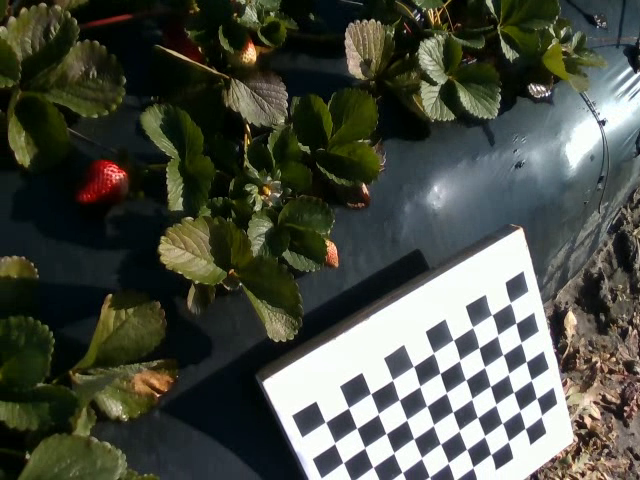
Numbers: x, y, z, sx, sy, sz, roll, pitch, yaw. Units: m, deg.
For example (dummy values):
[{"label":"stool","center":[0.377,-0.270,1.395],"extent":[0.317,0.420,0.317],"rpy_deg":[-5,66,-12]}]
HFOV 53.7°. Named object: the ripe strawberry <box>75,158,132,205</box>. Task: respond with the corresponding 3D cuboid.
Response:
[{"label":"ripe strawberry","center":[-0.173,-0.043,0.498],"extent":[0.044,0.042,0.056],"rpy_deg":[4,38,44]}]
